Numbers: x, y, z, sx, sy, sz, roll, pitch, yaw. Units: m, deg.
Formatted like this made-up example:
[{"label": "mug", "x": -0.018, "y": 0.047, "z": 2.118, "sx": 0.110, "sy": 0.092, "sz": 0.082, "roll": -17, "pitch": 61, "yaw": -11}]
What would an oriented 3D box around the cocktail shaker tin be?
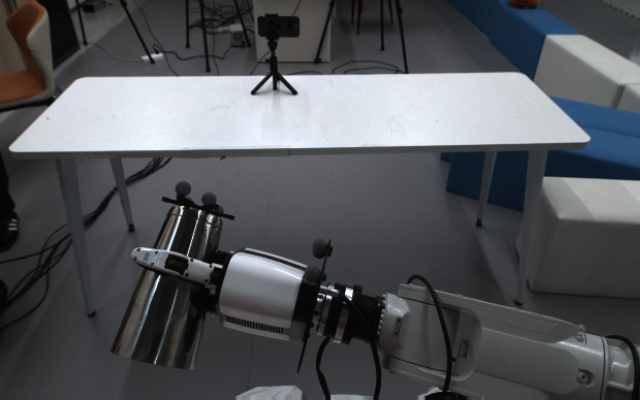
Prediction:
[{"label": "cocktail shaker tin", "x": -0.167, "y": 0.100, "z": 0.560, "sx": 0.093, "sy": 0.093, "sz": 0.170, "roll": 10, "pitch": 74, "yaw": 11}]
